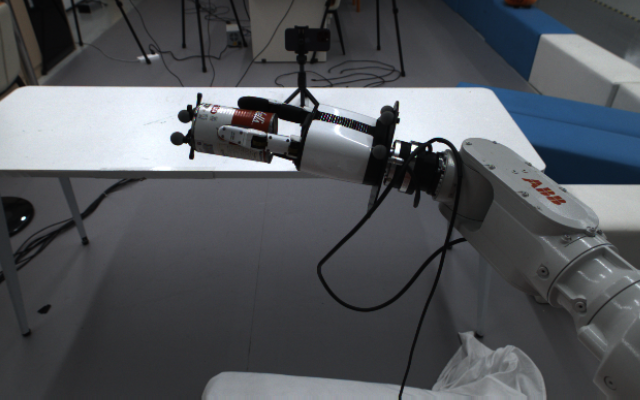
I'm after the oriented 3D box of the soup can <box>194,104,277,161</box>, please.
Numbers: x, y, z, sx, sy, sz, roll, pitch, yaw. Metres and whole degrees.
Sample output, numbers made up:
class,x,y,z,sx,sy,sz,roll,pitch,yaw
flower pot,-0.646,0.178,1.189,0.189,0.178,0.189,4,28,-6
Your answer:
class,x,y,z,sx,sy,sz,roll,pitch,yaw
soup can,-0.111,-0.089,0.648,0.101,0.067,0.067,8,35,2
